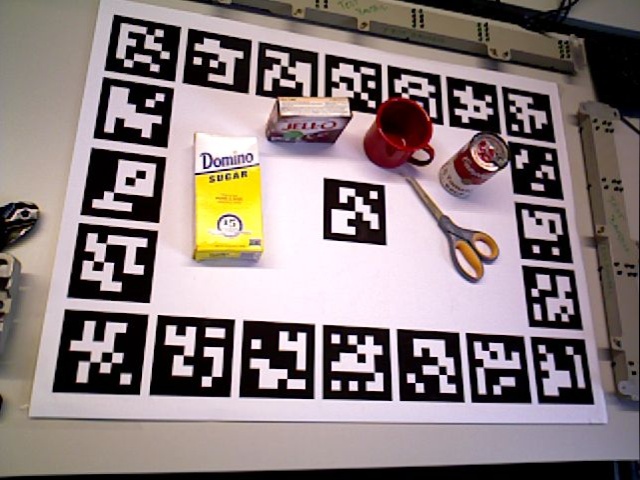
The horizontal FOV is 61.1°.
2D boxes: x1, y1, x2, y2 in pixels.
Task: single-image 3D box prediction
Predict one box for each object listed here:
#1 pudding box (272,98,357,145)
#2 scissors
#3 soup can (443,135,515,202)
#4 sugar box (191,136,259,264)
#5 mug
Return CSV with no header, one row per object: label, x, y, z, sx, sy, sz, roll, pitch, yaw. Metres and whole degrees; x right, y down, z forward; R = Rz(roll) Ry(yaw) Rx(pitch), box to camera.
pudding box,-0.007,-0.174,0.795,0.112,0.091,0.038,-4,81,-16
scissors,0.213,-0.009,0.848,0.087,0.016,0.203,-38,88,-11
soup can,0.245,-0.109,0.848,0.067,0.104,0.067,4,71,-13
sugar box,-0.132,-0.055,0.762,0.092,0.046,0.175,2,76,-12
mug,0.134,-0.157,0.836,0.092,0.083,0.117,-32,83,-19
